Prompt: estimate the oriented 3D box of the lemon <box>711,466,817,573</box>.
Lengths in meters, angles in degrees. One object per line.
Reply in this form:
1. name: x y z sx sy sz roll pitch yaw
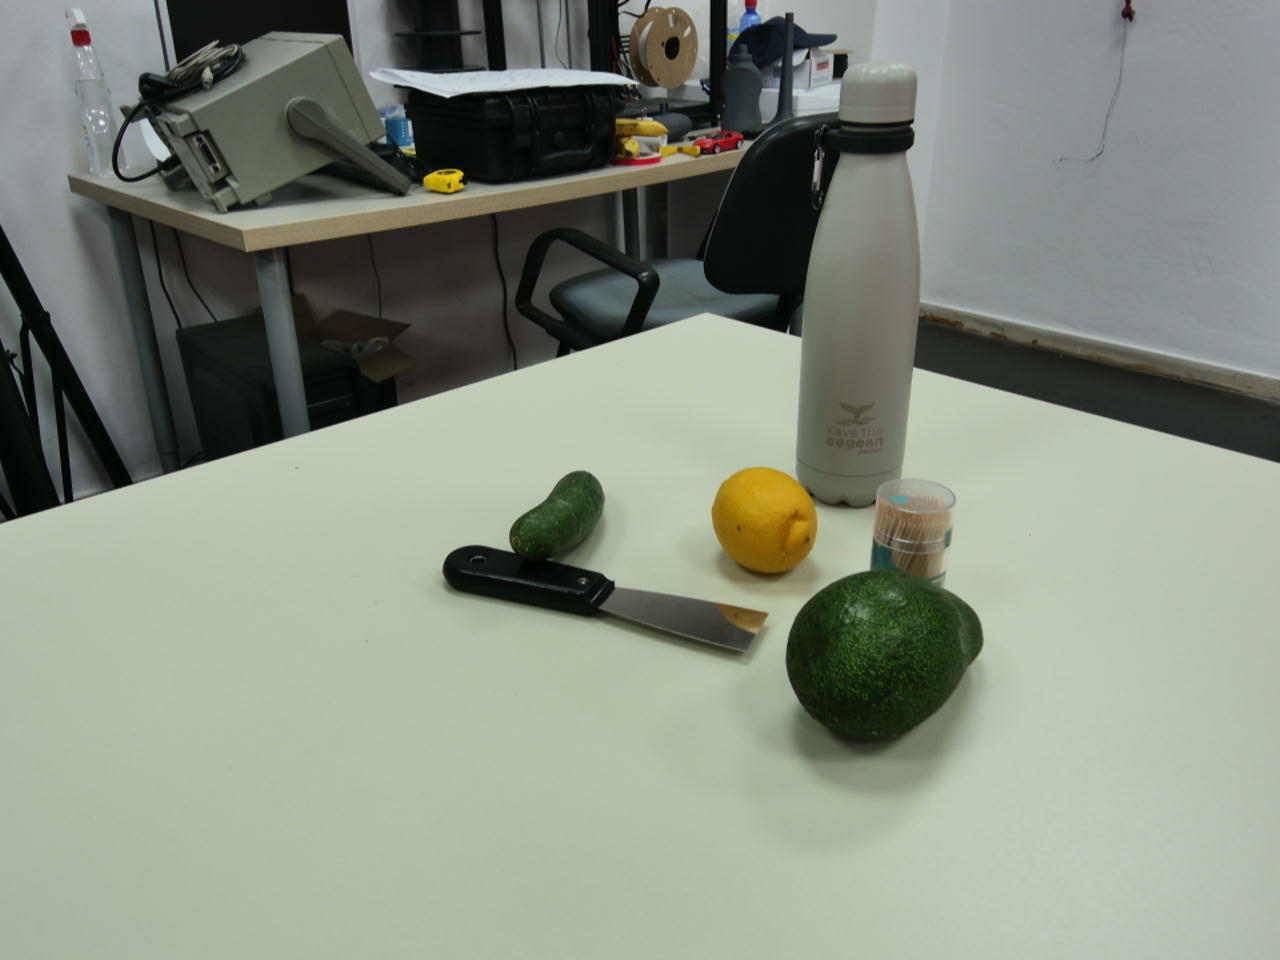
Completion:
1. lemon: 0.073 0.024 0.592 0.061 0.059 0.067 0 24 0
